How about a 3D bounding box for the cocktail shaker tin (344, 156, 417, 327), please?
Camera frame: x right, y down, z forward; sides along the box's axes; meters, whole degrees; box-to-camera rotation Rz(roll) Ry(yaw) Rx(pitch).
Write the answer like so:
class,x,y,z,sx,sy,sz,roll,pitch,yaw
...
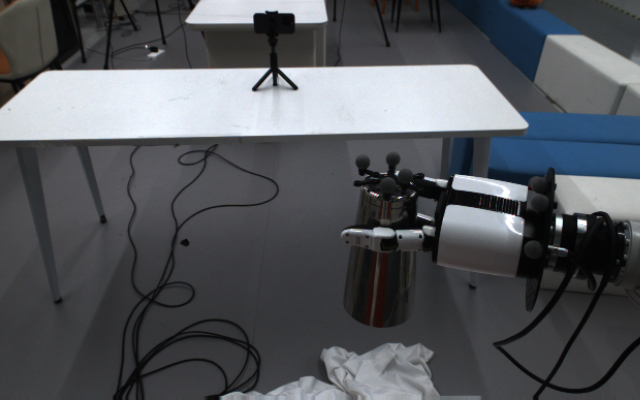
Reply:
class,x,y,z,sx,sy,sz,roll,pitch,yaw
cocktail shaker tin,0.081,0.058,0.599,0.093,0.170,0.093,1,26,-1
